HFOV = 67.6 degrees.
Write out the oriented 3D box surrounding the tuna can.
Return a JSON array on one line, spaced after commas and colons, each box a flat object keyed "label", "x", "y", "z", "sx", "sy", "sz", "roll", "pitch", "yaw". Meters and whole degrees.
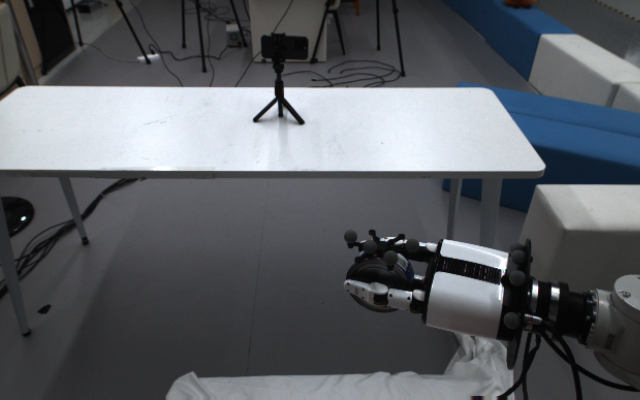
[{"label": "tuna can", "x": 0.082, "y": 0.101, "z": 0.637, "sx": 0.085, "sy": 0.085, "sz": 0.034, "roll": 13, "pitch": 29, "yaw": 16}]
